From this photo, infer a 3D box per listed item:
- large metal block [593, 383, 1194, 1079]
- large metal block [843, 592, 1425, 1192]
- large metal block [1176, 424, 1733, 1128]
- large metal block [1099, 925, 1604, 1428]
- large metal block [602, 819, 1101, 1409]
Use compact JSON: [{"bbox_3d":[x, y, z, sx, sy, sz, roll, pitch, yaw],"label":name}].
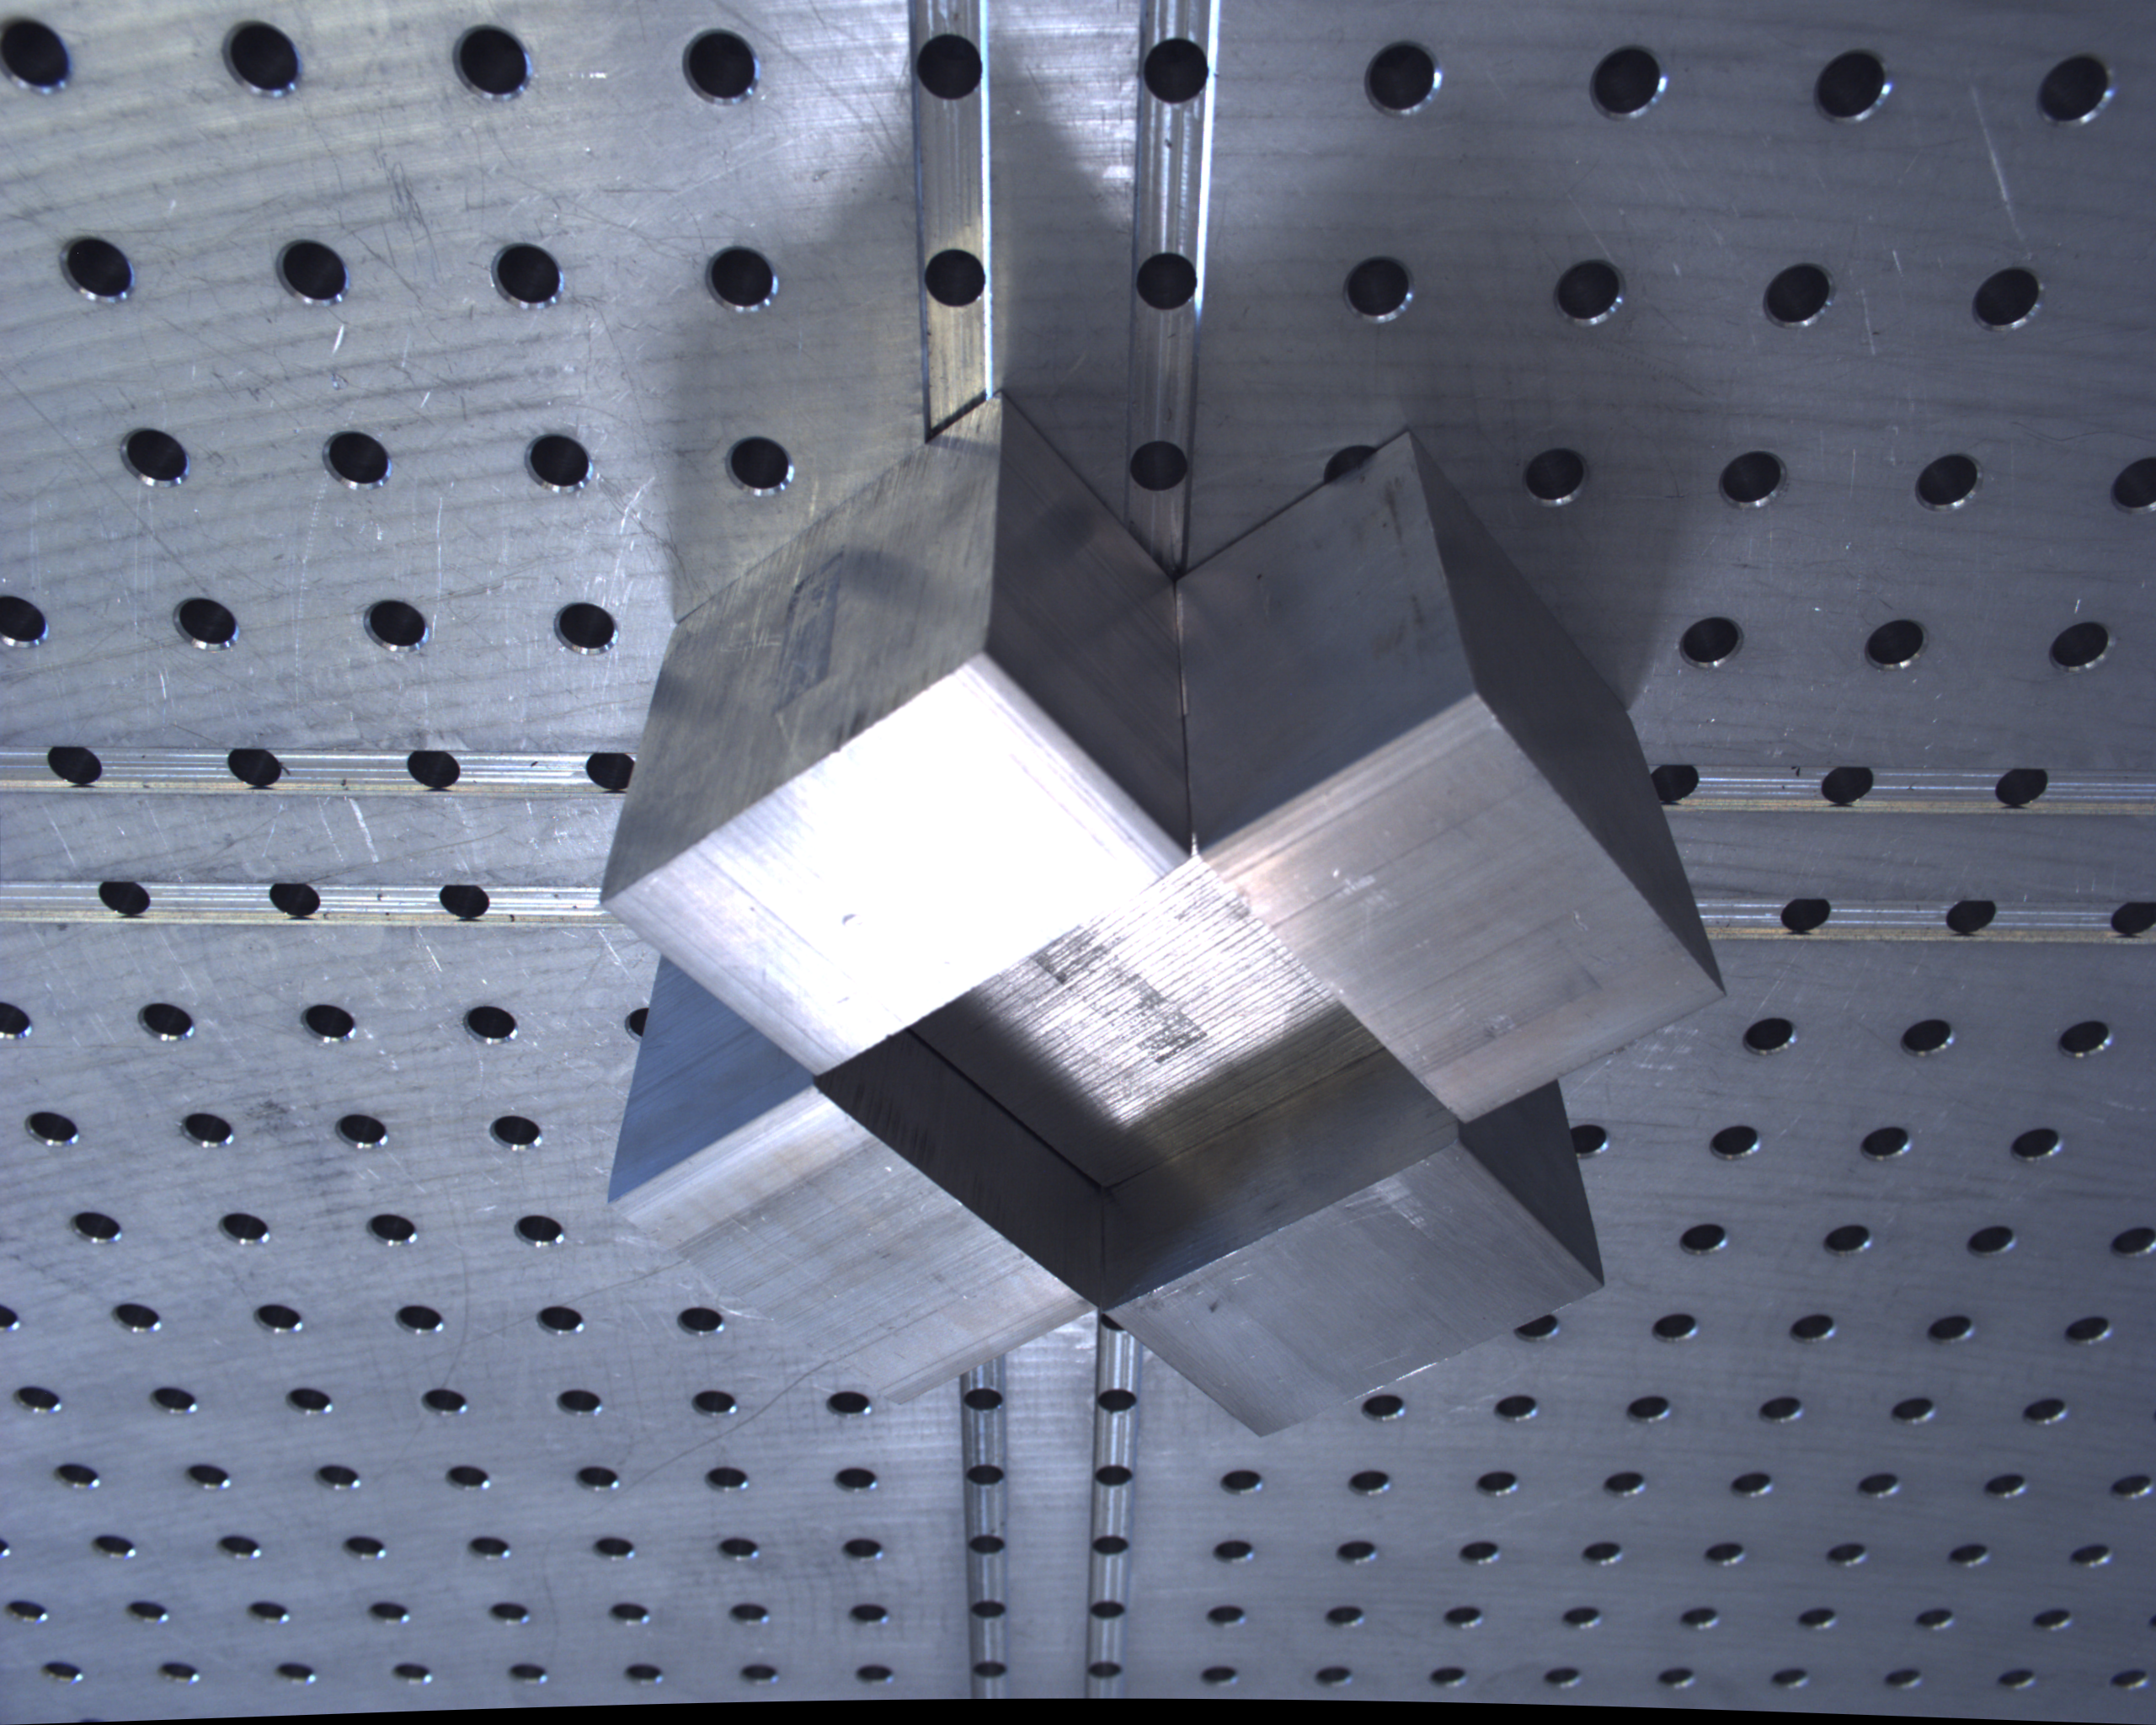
[{"bbox_3d":[-0.029,-0.023,0.356,0.080,0.080,0.050,-31,124,24],"label":"large metal block"},{"bbox_3d":[0.012,0.007,0.400,0.080,0.050,0.080,-30,123,25],"label":"large metal block"},{"bbox_3d":[0.063,-0.015,0.363,0.050,0.080,0.080,-32,124,23],"label":"large metal block"},{"bbox_3d":[0.051,0.055,0.424,0.080,0.080,0.050,-30,124,23],"label":"large metal block"},{"bbox_3d":[-0.041,0.047,0.415,0.050,0.080,0.080,-32,124,24],"label":"large metal block"}]
